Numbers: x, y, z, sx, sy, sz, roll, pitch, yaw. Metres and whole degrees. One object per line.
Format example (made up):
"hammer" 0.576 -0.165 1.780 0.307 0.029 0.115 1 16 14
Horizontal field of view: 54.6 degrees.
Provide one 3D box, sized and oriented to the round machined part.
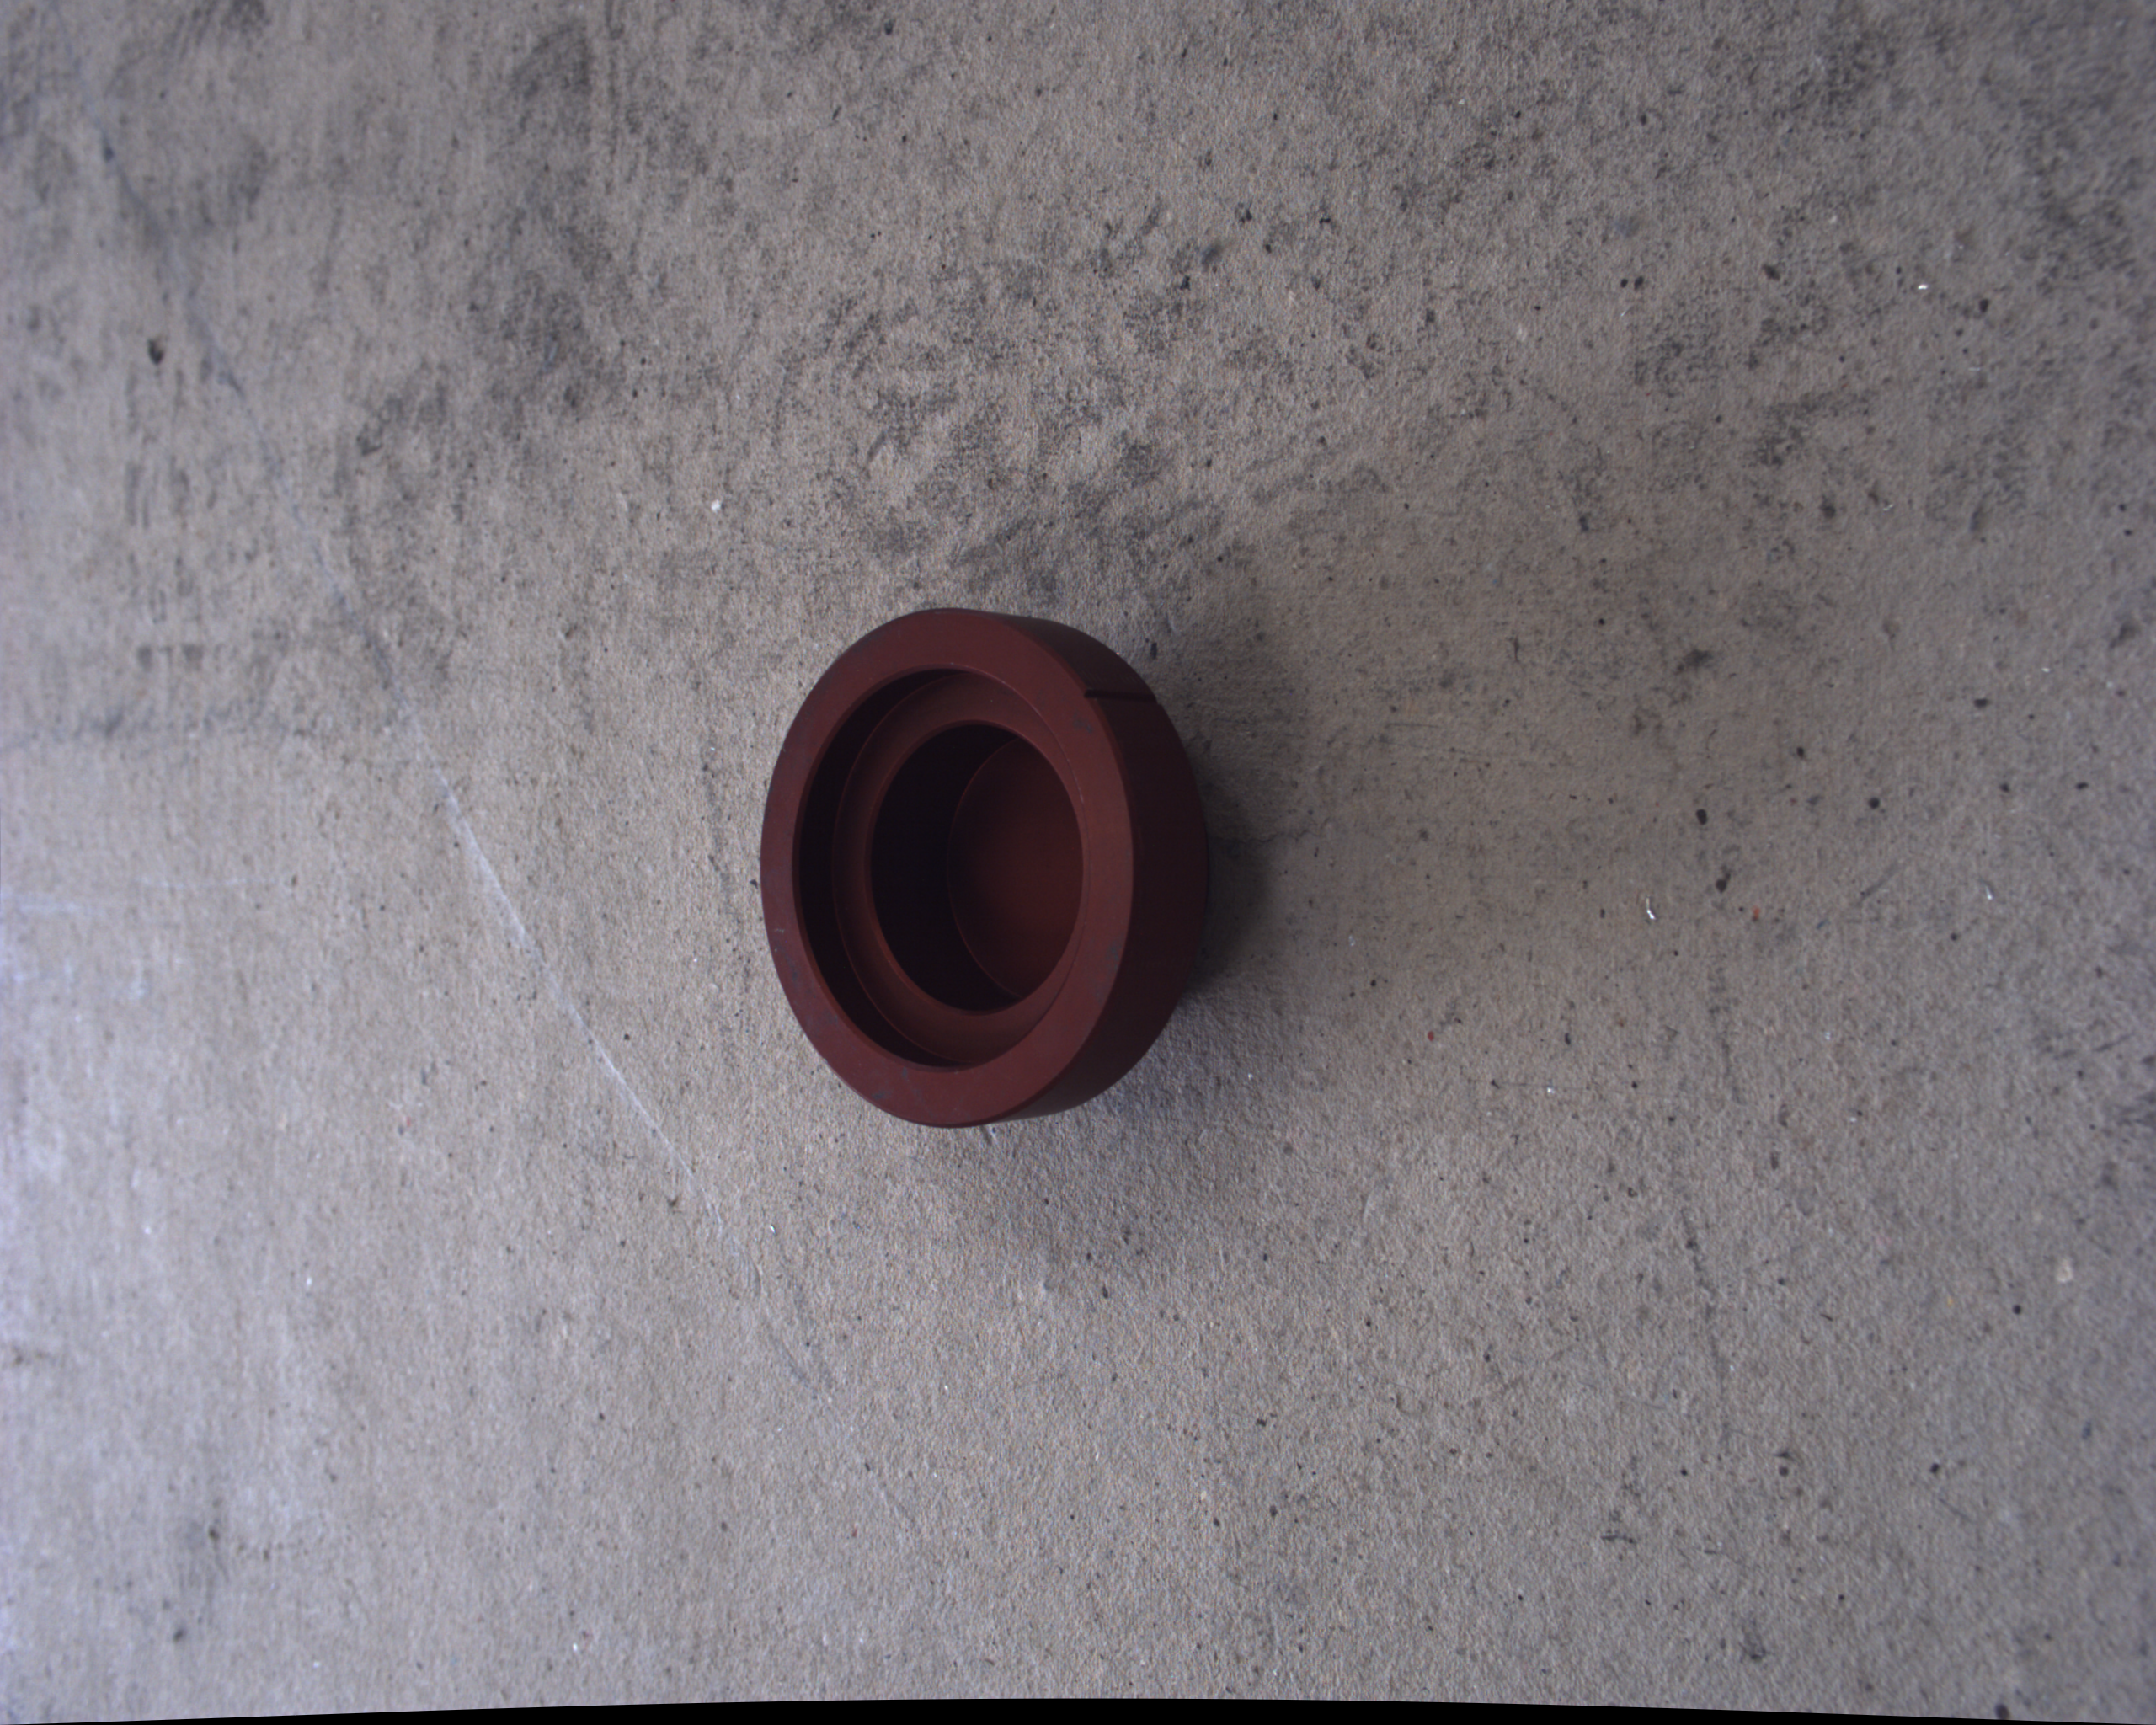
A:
"round machined part" -0.013 0.001 0.408 0.098 0.042 0.097 0 90 40
